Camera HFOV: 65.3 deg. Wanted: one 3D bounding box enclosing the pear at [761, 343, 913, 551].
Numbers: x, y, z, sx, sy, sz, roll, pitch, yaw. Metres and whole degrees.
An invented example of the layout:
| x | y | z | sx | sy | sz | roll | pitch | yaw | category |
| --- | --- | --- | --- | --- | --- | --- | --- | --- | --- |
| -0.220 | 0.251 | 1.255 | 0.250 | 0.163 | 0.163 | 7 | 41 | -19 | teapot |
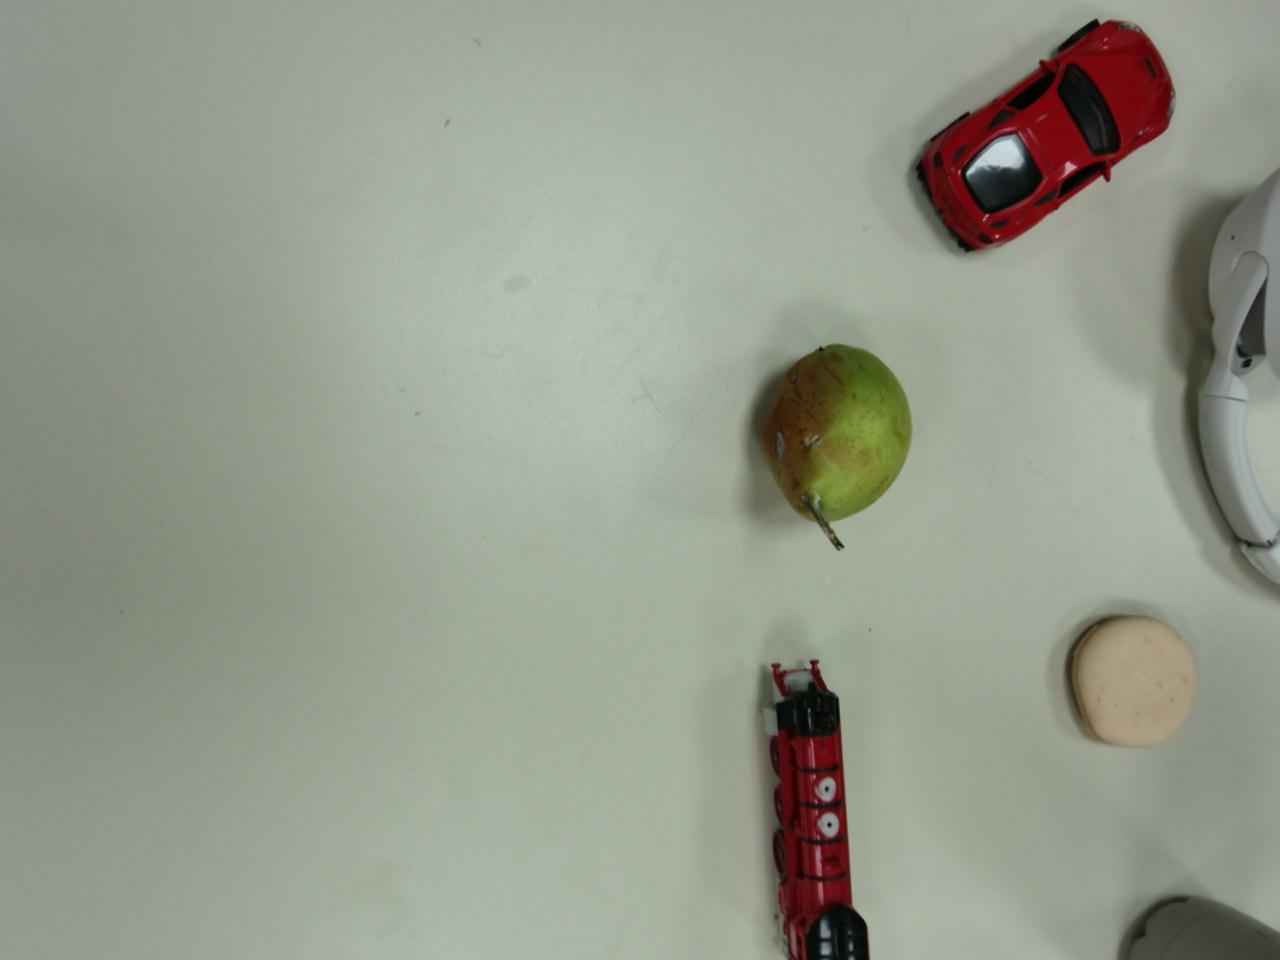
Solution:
| x | y | z | sx | sy | sz | roll | pitch | yaw | category |
| --- | --- | --- | --- | --- | --- | --- | --- | --- | --- |
| 0.081 | -0.020 | 0.417 | 0.070 | 0.069 | 0.068 | -30 | 96 | -10 | pear |
